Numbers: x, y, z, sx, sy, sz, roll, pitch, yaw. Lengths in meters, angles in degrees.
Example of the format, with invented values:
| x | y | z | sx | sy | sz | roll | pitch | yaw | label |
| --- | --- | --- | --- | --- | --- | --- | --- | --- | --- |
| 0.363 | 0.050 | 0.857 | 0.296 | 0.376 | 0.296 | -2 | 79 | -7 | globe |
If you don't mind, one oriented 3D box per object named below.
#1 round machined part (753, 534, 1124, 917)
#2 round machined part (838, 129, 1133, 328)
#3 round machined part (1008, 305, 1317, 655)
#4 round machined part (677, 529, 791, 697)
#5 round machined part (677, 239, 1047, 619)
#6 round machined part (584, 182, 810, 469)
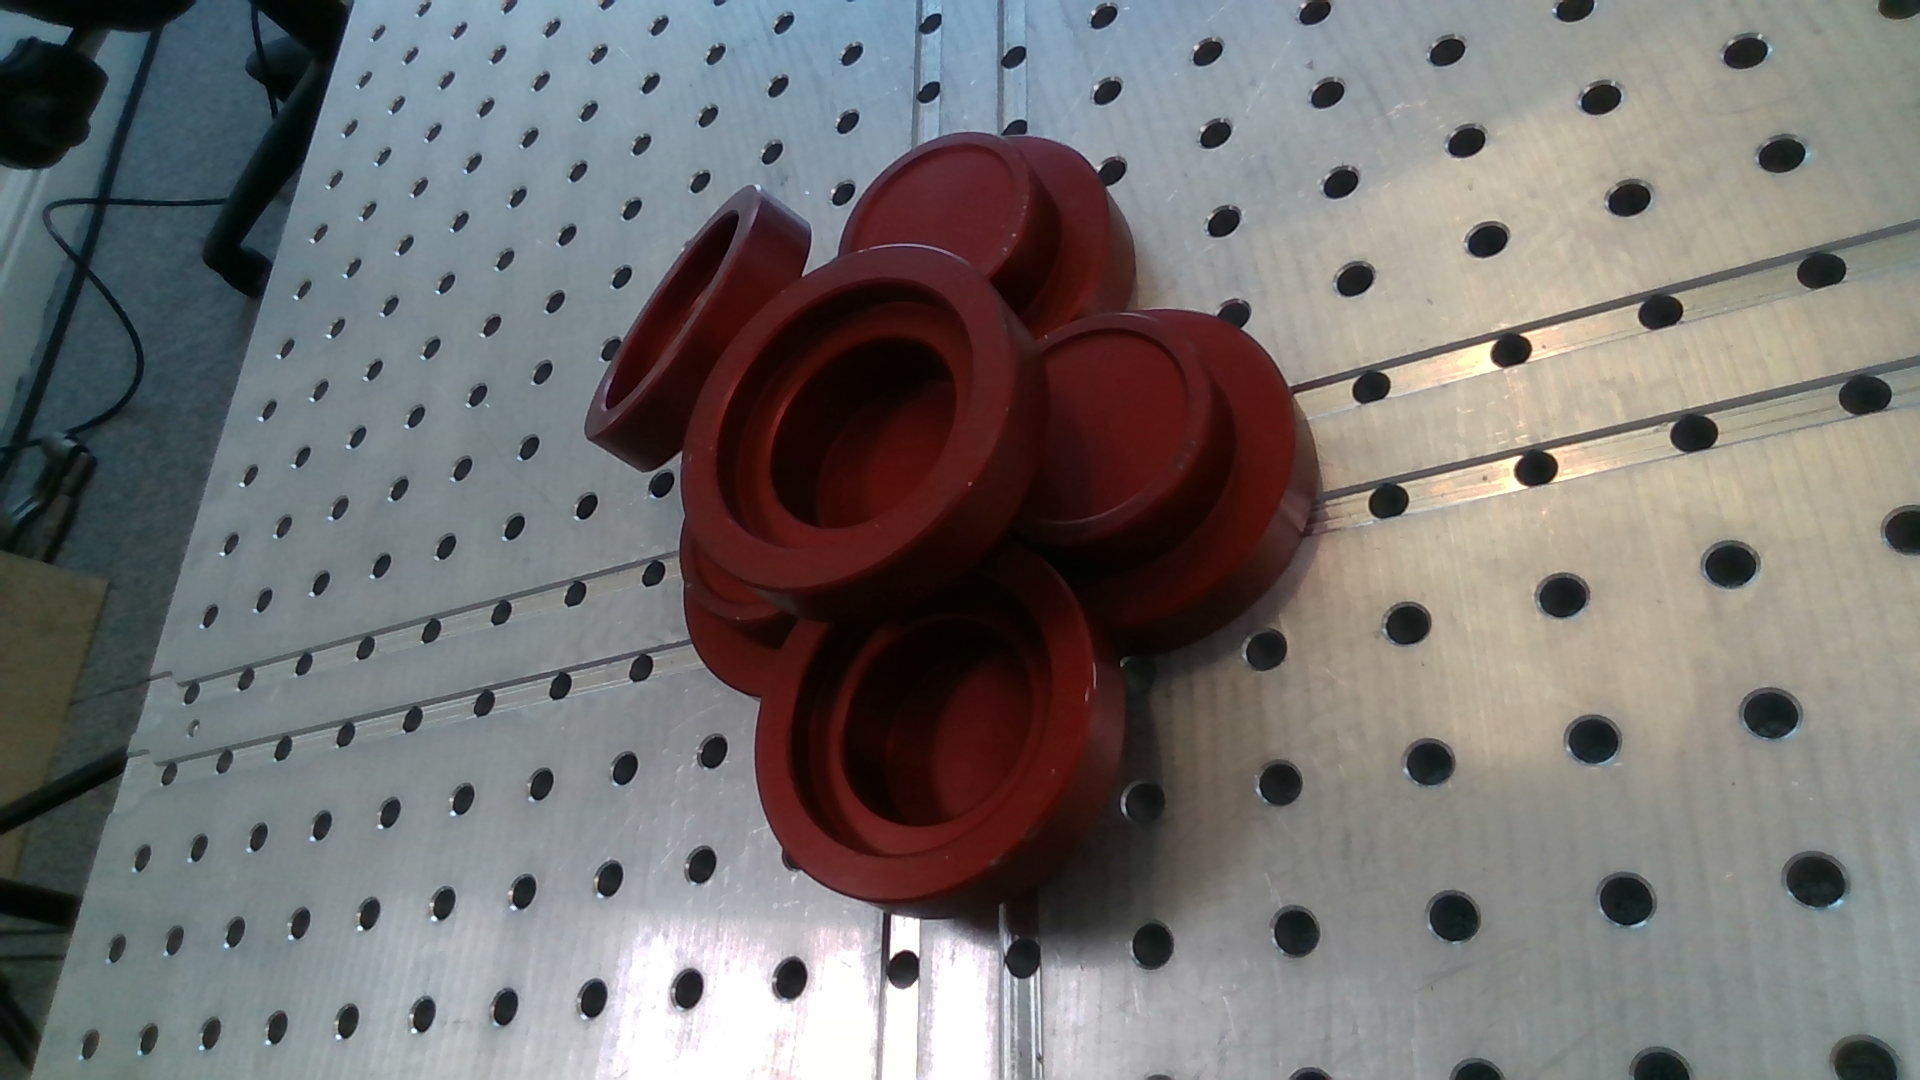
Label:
| x | y | z | sx | sy | sz | roll | pitch | yaw | label |
| --- | --- | --- | --- | --- | --- | --- | --- | --- | --- |
| -0.002 | 0.049 | 0.359 | 0.098 | 0.042 | 0.098 | -14 | 59 | 25 | round machined part |
| 0.001 | -0.088 | 0.431 | 0.098 | 0.042 | 0.098 | -14 | 59 | 25 | round machined part |
| 0.042 | -0.022 | 0.371 | 0.098 | 0.042 | 0.098 | -14 | 59 | 25 | round machined part |
| -0.045 | 0.000 | 0.412 | 0.098 | 0.042 | 0.098 | -14 | 59 | 25 | round machined part |
| -0.021 | -0.025 | 0.356 | 0.098 | 0.042 | 0.098 | -14 | 59 | 25 | round machined part |
| -0.078 | -0.064 | 0.450 | 0.098 | 0.042 | 0.098 | -41 | 29 | 30 | round machined part |
